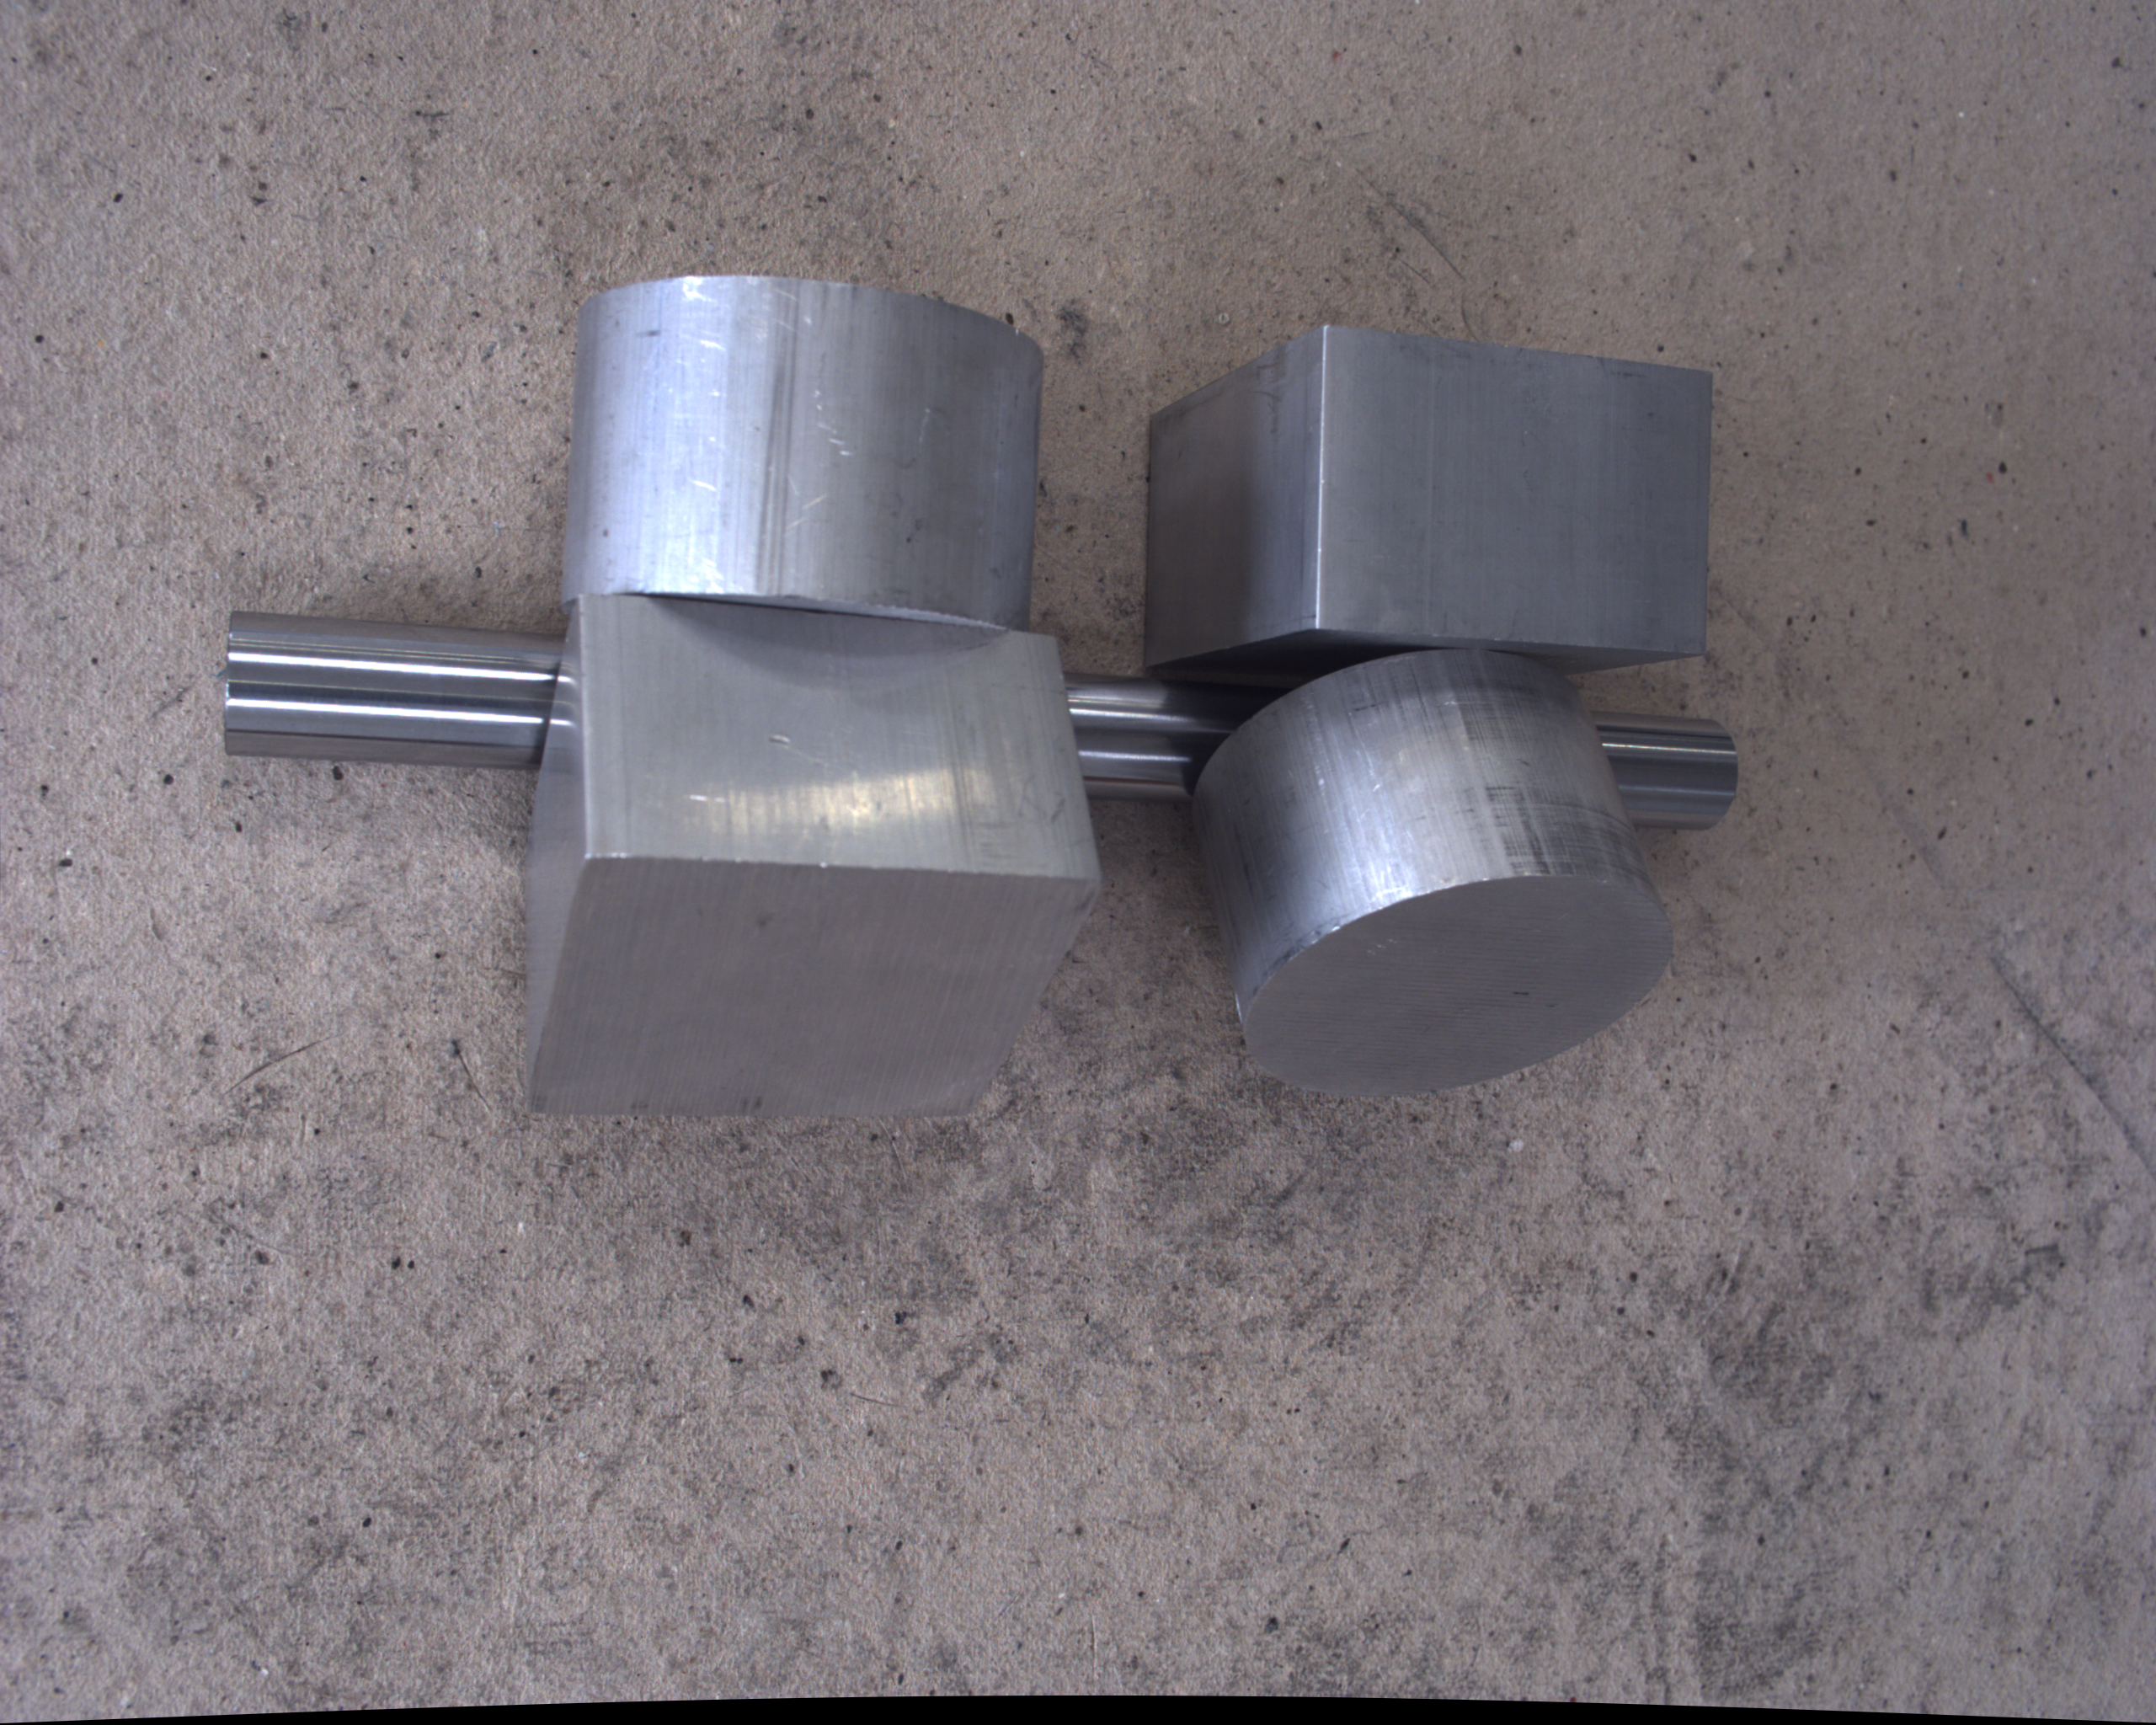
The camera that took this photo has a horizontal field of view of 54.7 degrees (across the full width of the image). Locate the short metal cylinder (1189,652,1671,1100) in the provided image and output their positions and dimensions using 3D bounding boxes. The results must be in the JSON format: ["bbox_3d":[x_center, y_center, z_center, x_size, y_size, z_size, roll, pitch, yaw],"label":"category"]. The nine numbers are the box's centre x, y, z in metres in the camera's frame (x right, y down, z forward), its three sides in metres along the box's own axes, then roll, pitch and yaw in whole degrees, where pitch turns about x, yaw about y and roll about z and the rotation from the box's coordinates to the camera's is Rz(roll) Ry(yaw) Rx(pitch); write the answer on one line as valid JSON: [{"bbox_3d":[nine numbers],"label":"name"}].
[{"bbox_3d":[0.066,0.004,0.399,0.081,0.080,0.050,2,55,-20],"label":"short metal cylinder"}]

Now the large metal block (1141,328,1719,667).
[{"bbox_3d":[0.065,-0.065,0.405,0.081,0.080,0.050,1,90,-20],"label":"large metal block"}]

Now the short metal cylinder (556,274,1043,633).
[{"bbox_3d":[-0.048,-0.066,0.363,0.081,0.080,0.050,4,89,-20],"label":"short metal cylinder"}]

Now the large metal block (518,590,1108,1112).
[{"bbox_3d":[-0.050,0.002,0.356,0.081,0.080,0.050,3,55,-21],"label":"large metal block"}]

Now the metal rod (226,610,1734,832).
[{"bbox_3d":[-0.004,-0.025,0.411,0.302,0.025,0.025,2,89,-20],"label":"metal rod"}]
